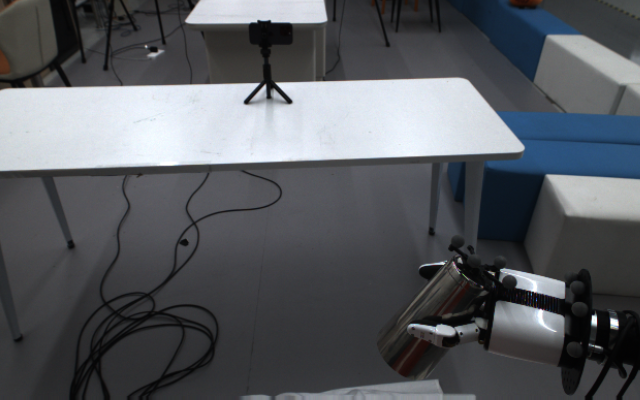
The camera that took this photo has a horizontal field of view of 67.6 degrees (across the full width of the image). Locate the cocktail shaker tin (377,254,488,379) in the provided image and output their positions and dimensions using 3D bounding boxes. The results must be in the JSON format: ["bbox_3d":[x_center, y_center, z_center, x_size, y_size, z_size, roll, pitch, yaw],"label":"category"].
[{"bbox_3d":[0.161,0.153,0.670,0.093,0.170,0.093,25,29,-15],"label":"cocktail shaker tin"}]
